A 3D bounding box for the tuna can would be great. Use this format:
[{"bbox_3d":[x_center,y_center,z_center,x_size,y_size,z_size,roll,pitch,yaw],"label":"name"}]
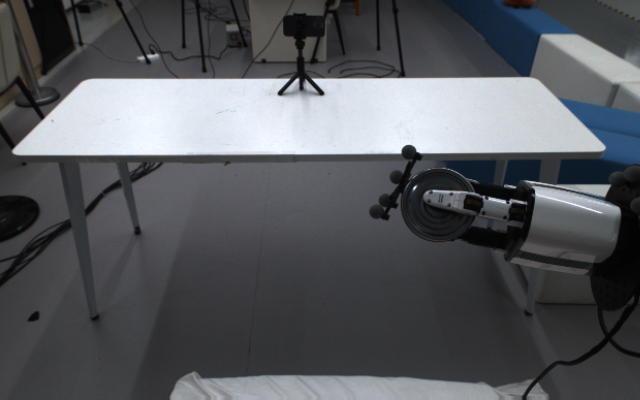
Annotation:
[{"bbox_3d":[0.138,0.003,0.559,0.085,0.085,0.034,9,-5,10],"label":"tuna can"}]
